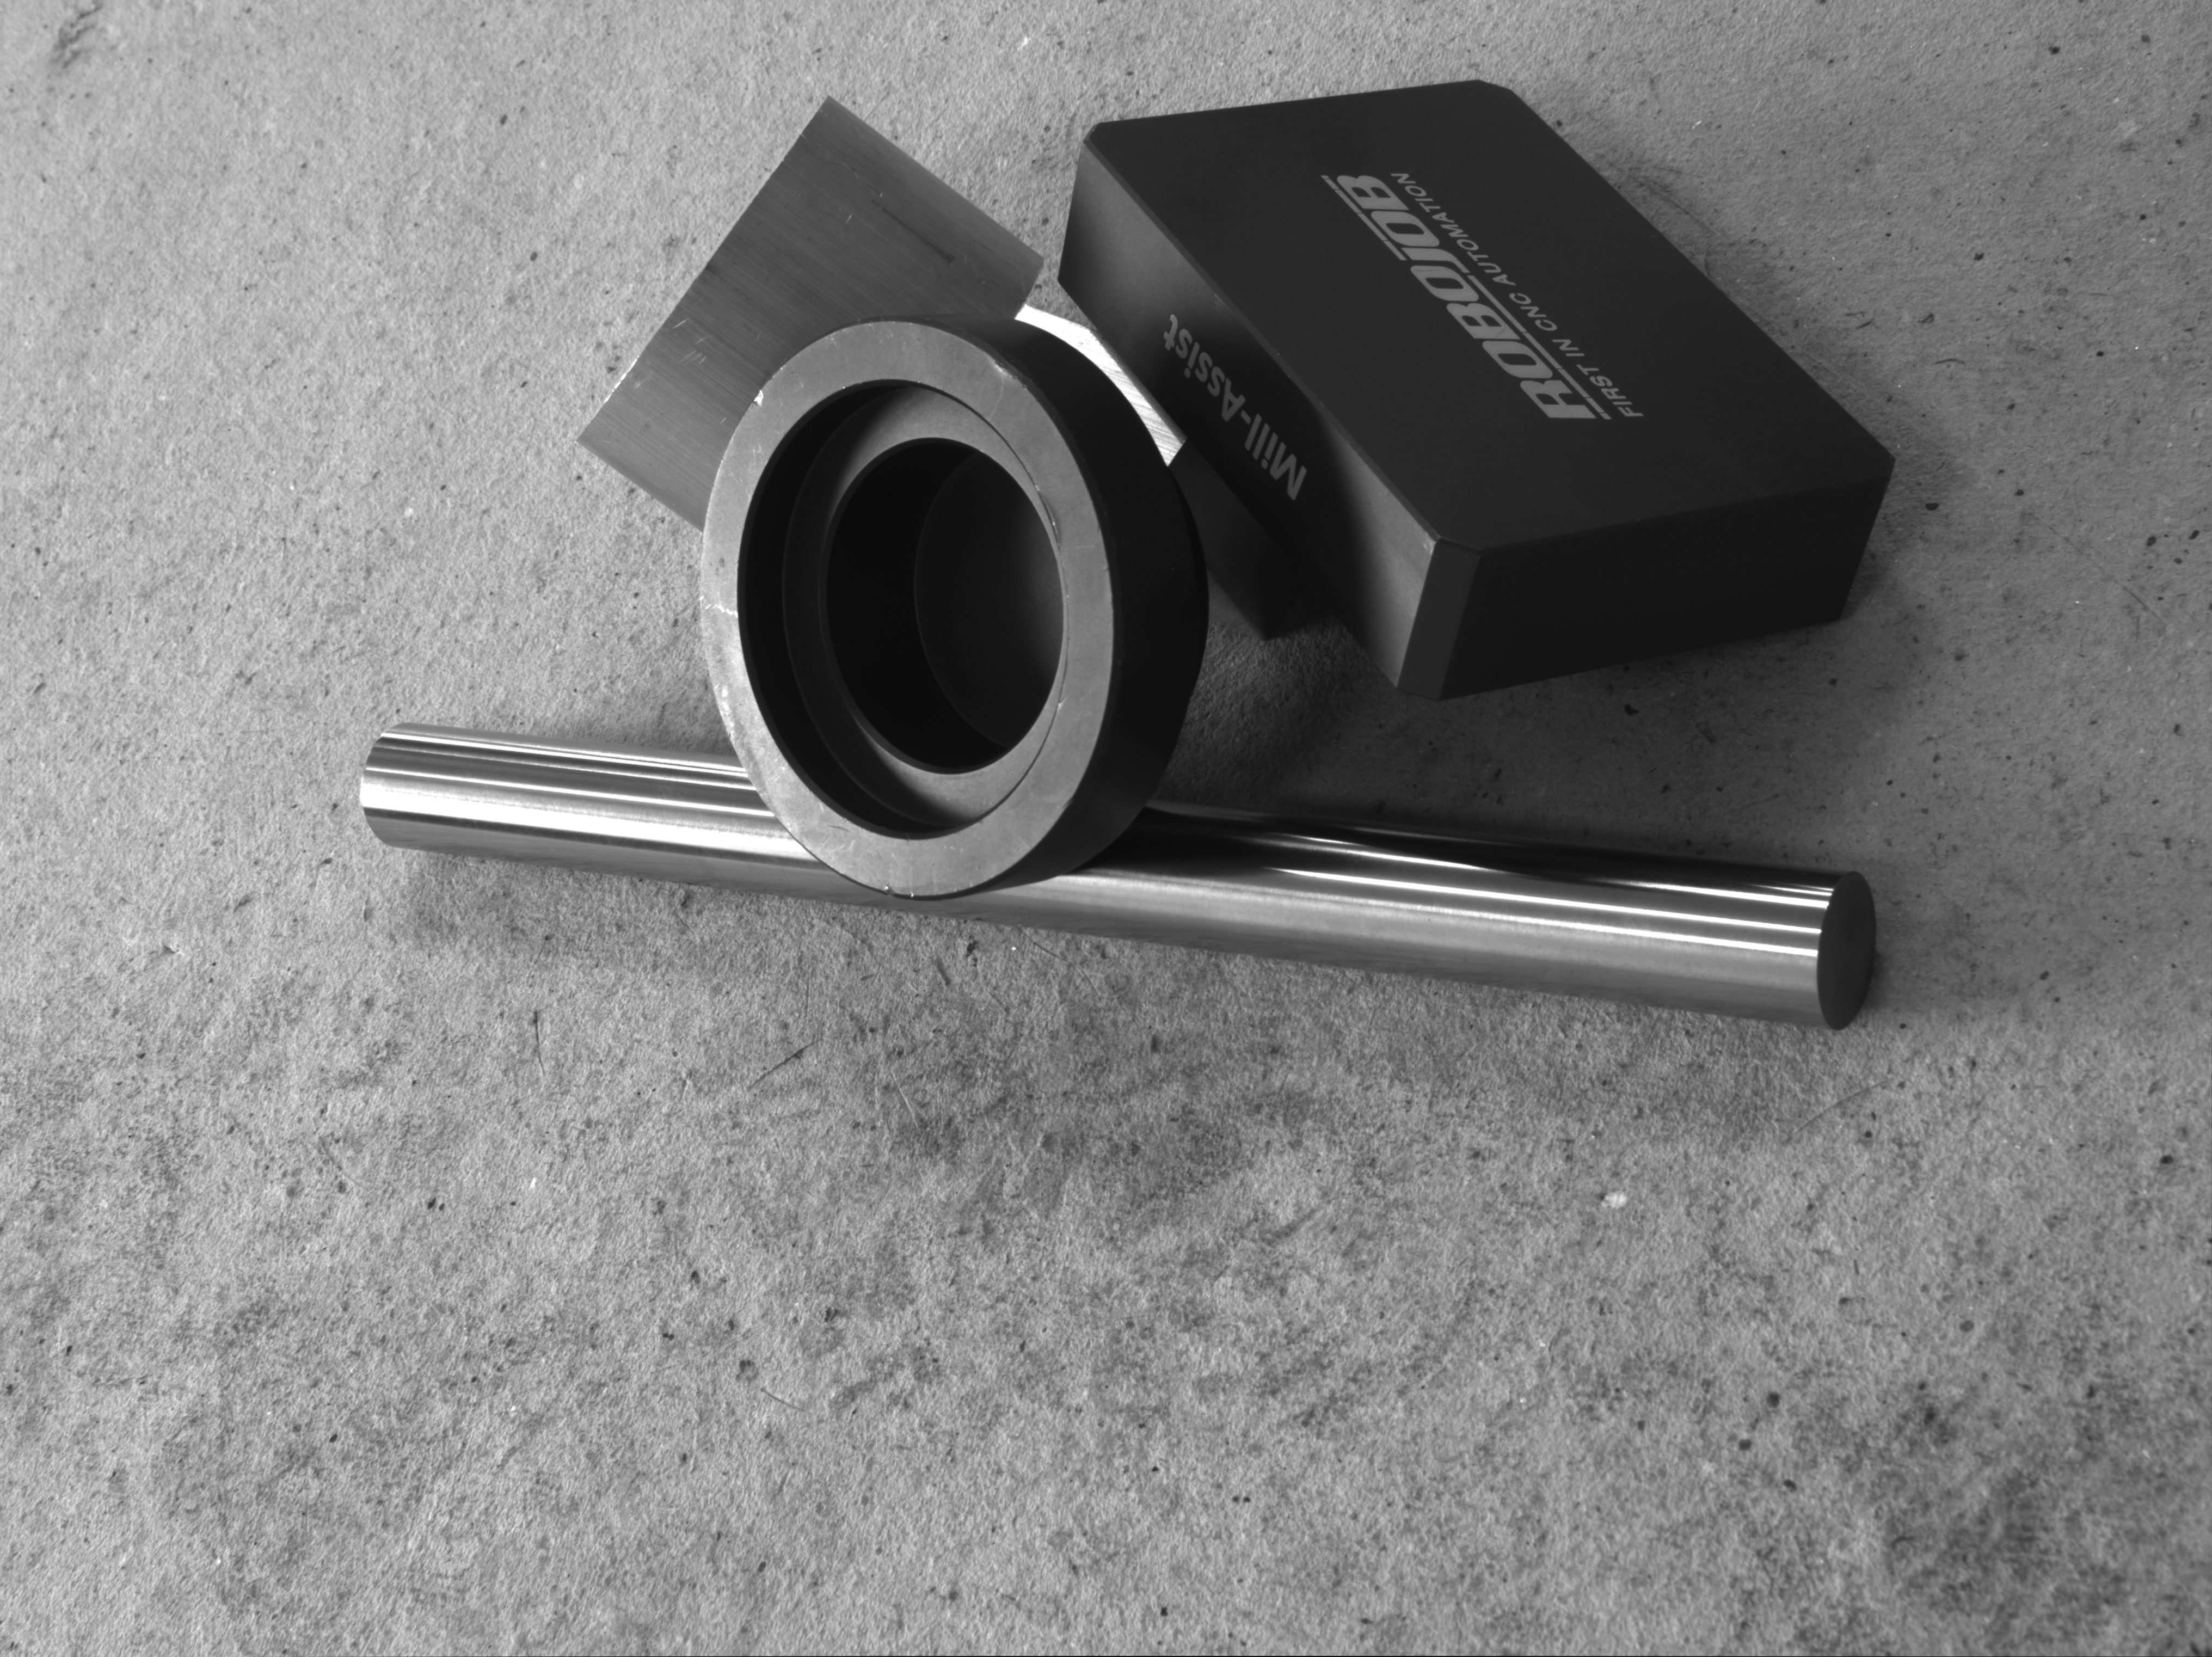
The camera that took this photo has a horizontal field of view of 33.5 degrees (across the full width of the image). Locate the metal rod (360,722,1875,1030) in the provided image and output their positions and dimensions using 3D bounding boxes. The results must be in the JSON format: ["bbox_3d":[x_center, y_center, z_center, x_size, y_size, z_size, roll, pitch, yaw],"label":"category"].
[{"bbox_3d":[-0.012,0.005,0.649,0.299,0.025,0.025,6,65,31],"label":"metal rod"}]

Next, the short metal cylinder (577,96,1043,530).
[{"bbox_3d":[-0.056,-0.090,0.690,0.080,0.050,0.080,-51,11,14],"label":"short metal cylinder"}]

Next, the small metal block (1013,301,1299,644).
[{"bbox_3d":[0.006,-0.064,0.664,0.050,0.050,0.025,26,76,37],"label":"small metal block"}]

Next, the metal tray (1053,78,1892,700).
[{"bbox_3d":[0.059,-0.079,0.626,0.090,0.030,0.130,-12,45,-27],"label":"metal tray"}]

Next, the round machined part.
[{"bbox_3d":[-0.021,-0.039,0.630,0.098,0.042,0.098,7,101,40],"label":"round machined part"}]
